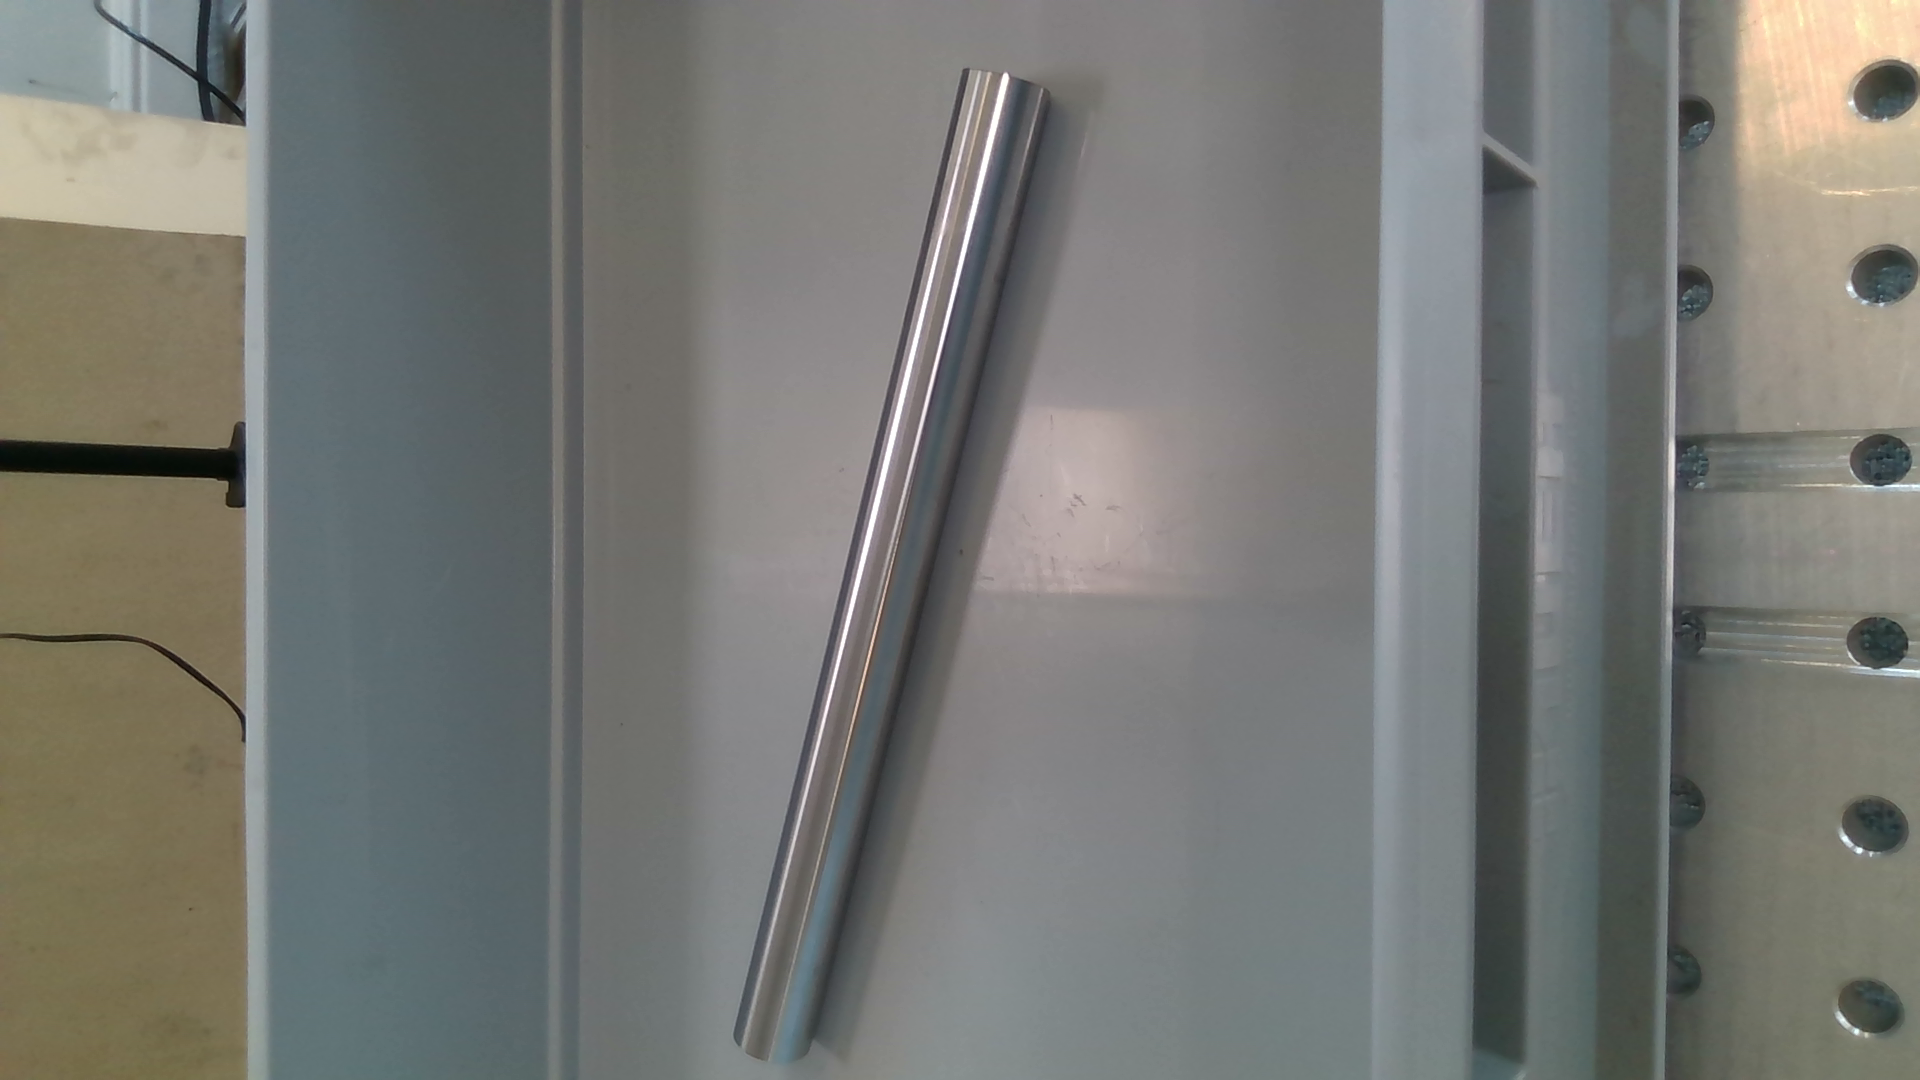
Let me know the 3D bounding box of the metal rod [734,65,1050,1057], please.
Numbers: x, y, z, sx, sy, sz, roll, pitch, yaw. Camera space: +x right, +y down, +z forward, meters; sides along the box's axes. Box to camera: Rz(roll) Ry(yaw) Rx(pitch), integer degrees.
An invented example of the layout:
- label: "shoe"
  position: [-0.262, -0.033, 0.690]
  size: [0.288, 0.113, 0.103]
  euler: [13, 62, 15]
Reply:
- label: "metal rod"
  position: [-0.024, 0.016, 0.409]
  size: [0.025, 0.025, 0.300]
  euler: [24, 106, 38]
